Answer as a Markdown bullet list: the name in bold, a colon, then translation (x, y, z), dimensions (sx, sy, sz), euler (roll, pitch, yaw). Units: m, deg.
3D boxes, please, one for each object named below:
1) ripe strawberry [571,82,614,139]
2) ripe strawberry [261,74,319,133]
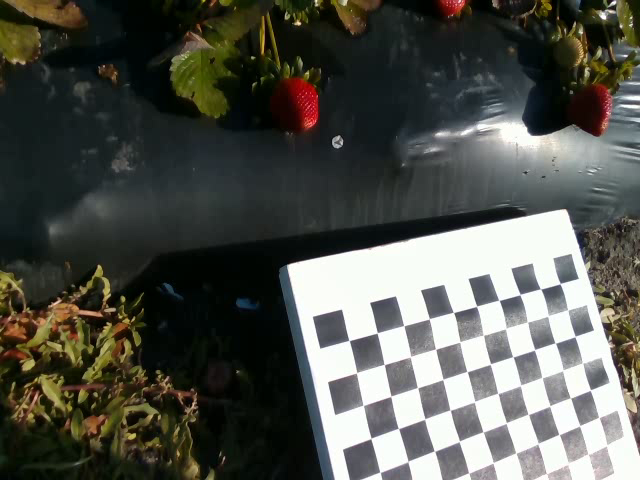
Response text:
- **ripe strawberry**: translation (0.237, -0.110, 0.500), dimensions (0.042, 0.058, 0.042), euler (14, -29, -24)
- **ripe strawberry**: translation (-0.018, -0.098, 0.424), dimensions (0.045, 0.055, 0.042), euler (0, -43, -28)
